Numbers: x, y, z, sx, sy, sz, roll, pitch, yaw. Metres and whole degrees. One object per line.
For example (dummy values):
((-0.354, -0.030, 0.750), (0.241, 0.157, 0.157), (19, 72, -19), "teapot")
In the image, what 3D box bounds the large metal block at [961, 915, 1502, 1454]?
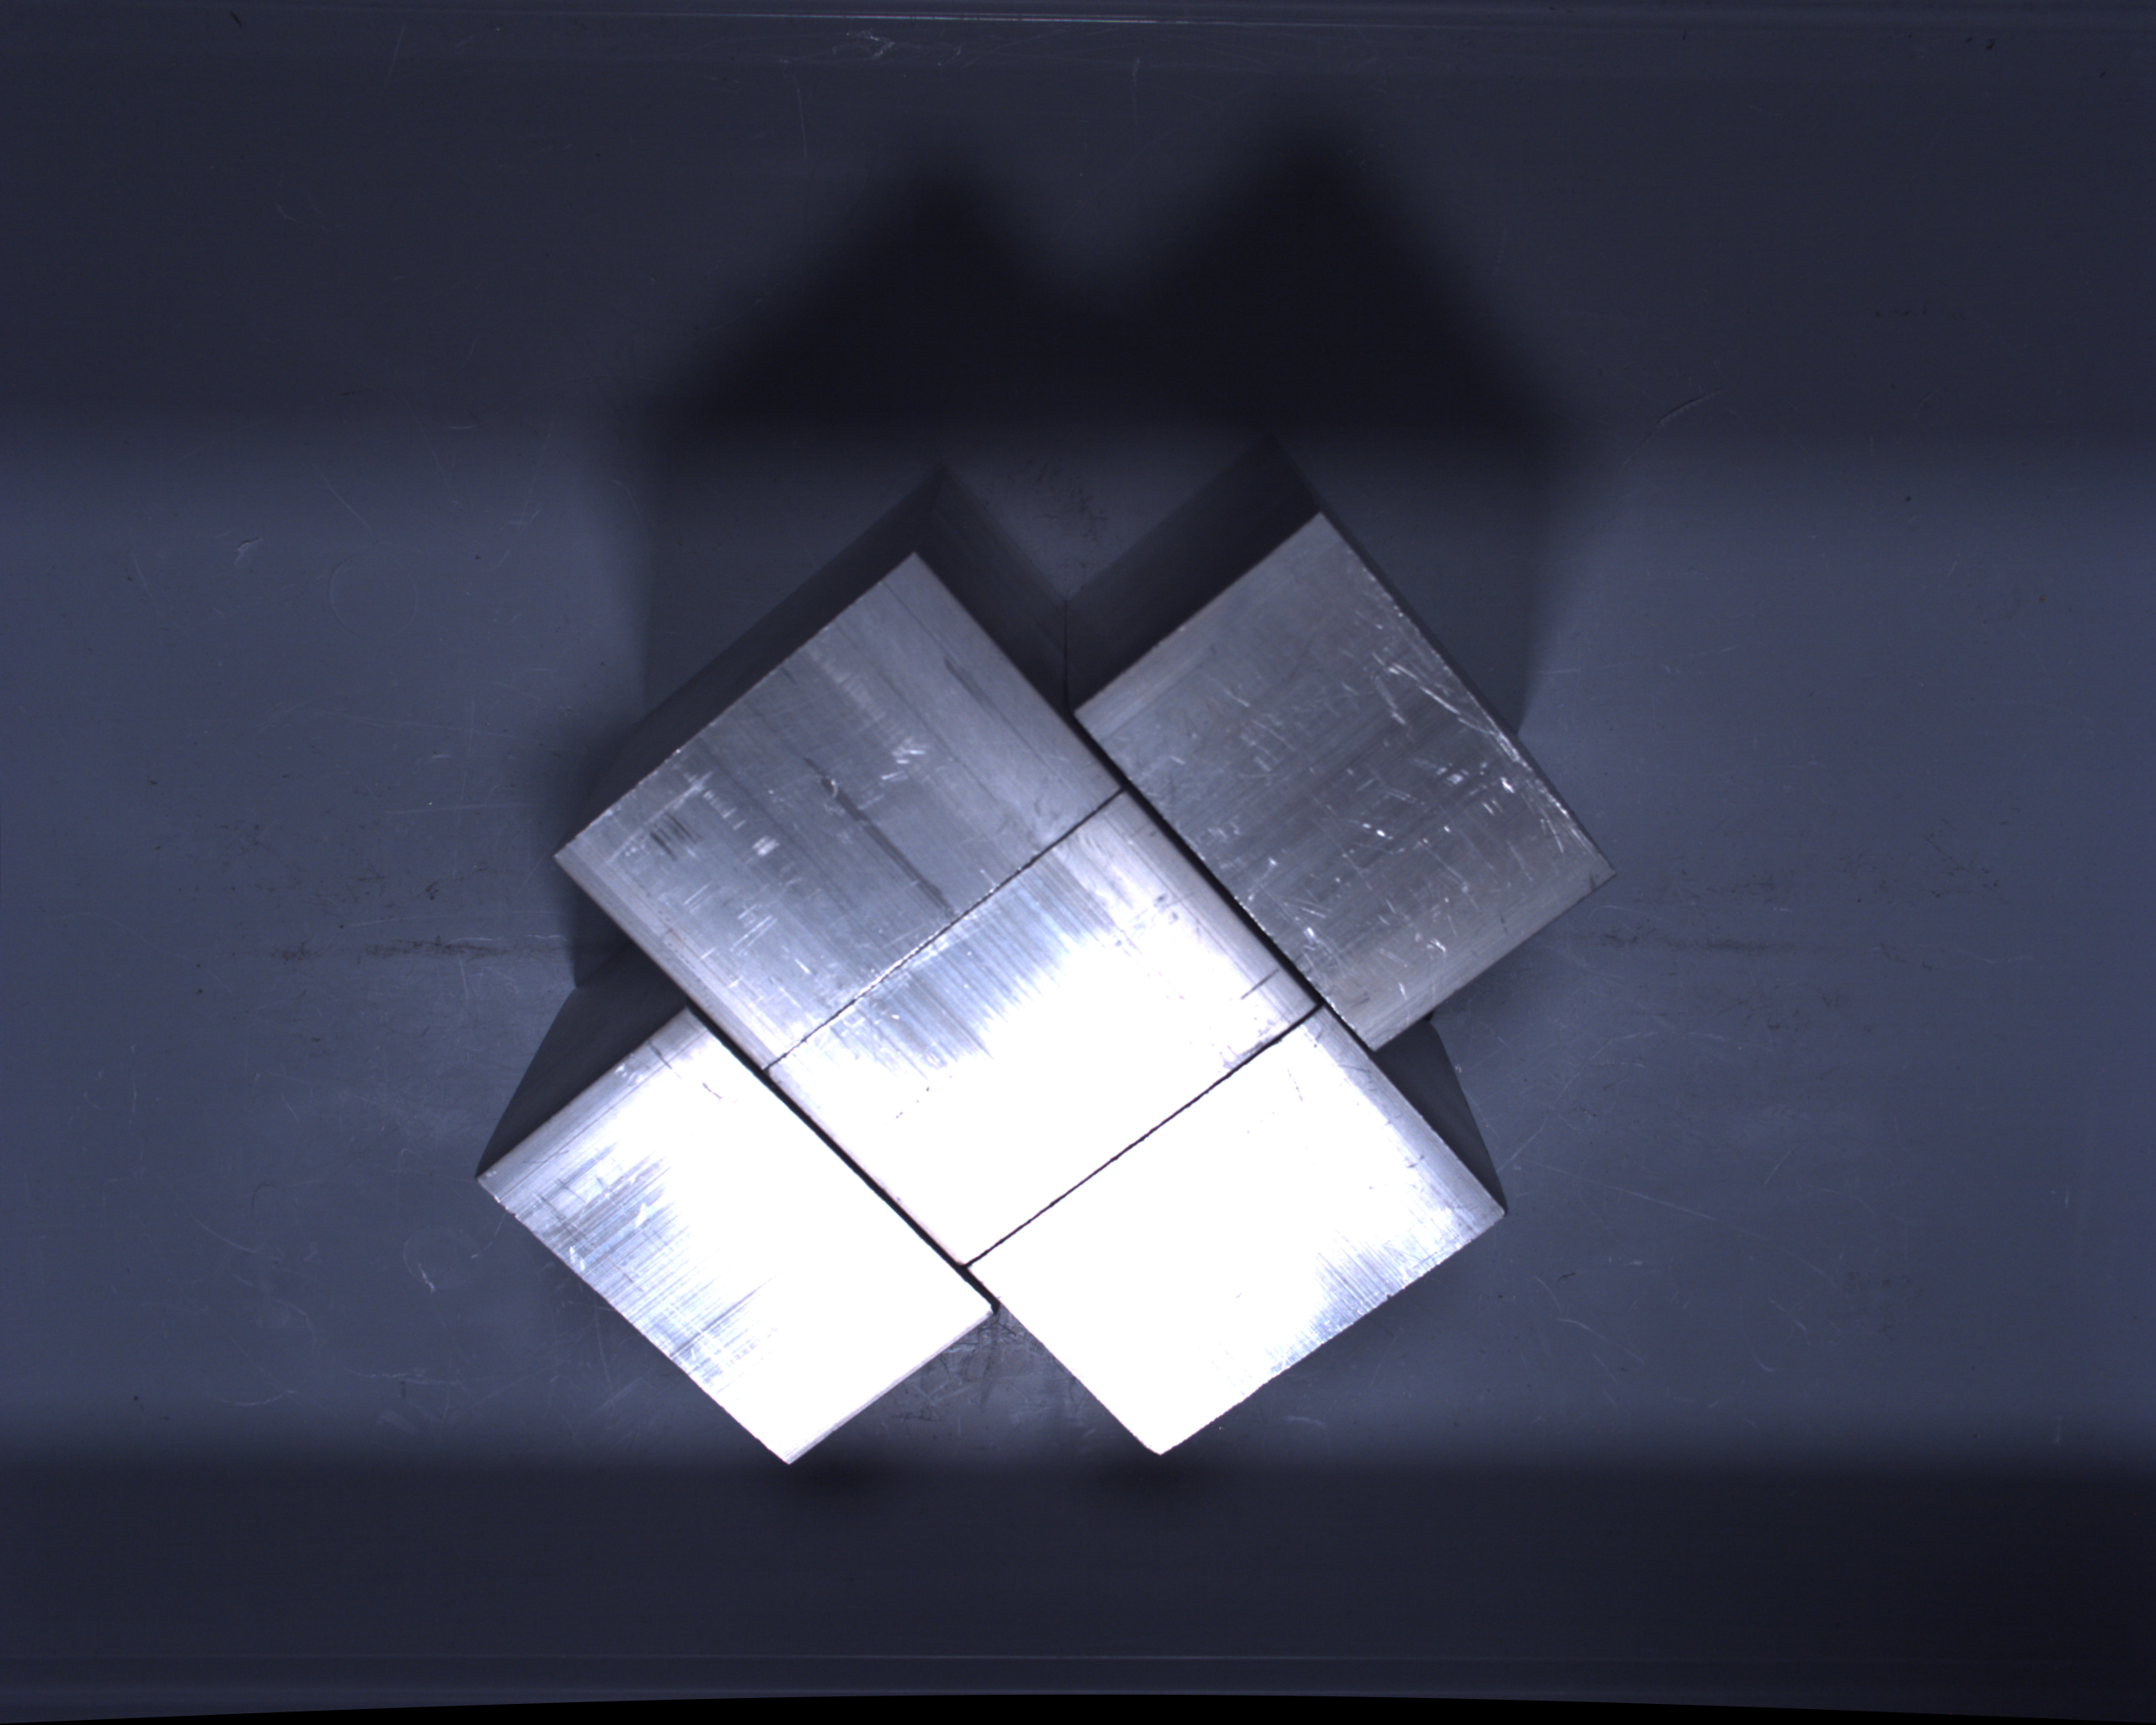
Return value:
((0.026, 0.052, 0.401), (0.080, 0.080, 0.050), (-38, 106, 12), "large metal block")

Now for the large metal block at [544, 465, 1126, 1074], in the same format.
((-0.039, -0.020, 0.373), (0.080, 0.080, 0.050), (-38, 106, 12), "large metal block")

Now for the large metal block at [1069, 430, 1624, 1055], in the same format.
((0.044, -0.025, 0.373), (0.050, 0.080, 0.080), (-39, 106, 13), "large metal block")

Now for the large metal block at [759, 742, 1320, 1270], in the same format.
((-0.007, 0.016, 0.387), (0.080, 0.080, 0.050), (-38, 106, 12), "large metal block")

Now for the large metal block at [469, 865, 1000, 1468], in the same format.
((-0.059, 0.053, 0.400), (0.050, 0.080, 0.080), (-39, 106, 13), "large metal block")
